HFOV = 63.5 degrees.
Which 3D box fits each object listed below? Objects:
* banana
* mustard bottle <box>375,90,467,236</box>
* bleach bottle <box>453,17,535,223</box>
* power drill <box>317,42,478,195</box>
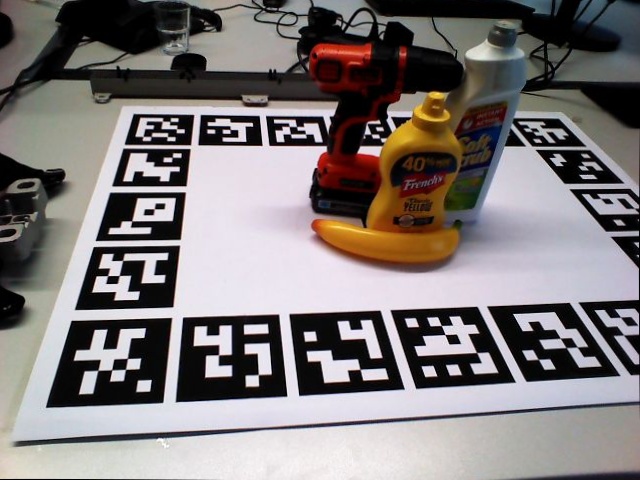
[{"bbox_3d":[0.102,0.000,0.637,0.198,0.039,0.074,2,43,-1],"label":"banana"},{"bbox_3d":[0.126,-0.084,0.604,0.096,0.192,0.058,1,42,-7],"label":"mustard bottle"},{"bbox_3d":[0.193,-0.140,0.638,0.103,0.252,0.067,2,36,-5],"label":"bleach bottle"},{"bbox_3d":[0.081,-0.146,0.638,0.185,0.188,0.057,9,41,1],"label":"power drill"}]
